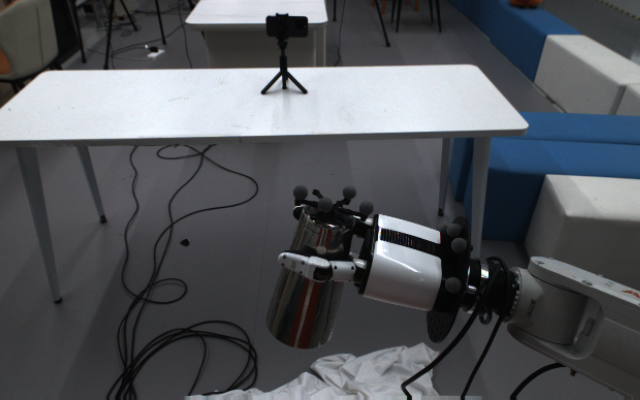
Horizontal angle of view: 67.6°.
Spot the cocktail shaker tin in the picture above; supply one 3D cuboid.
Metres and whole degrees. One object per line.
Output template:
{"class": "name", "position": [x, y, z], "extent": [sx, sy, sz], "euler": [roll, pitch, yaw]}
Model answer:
{"class": "cocktail shaker tin", "position": [-0.004, 0.090, 0.616], "extent": [0.093, 0.170, 0.093], "euler": [12, 25, -6]}
